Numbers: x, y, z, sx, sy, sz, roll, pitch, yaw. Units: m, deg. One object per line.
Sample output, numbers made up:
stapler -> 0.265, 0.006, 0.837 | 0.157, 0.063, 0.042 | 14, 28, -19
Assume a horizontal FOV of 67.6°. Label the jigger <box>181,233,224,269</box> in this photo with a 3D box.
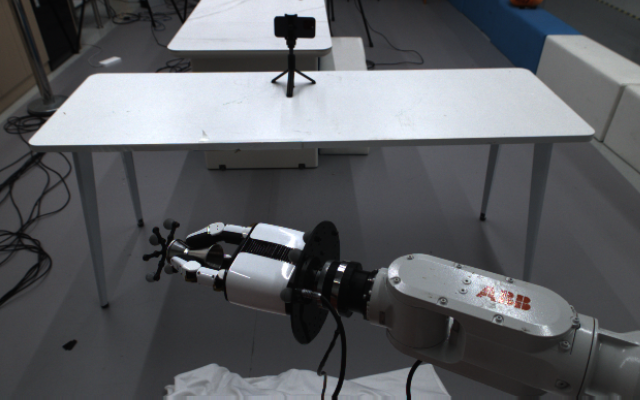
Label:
jigger -> -0.171, 0.076, 0.683 | 0.071, 0.043, 0.043 | 6, 34, 22
